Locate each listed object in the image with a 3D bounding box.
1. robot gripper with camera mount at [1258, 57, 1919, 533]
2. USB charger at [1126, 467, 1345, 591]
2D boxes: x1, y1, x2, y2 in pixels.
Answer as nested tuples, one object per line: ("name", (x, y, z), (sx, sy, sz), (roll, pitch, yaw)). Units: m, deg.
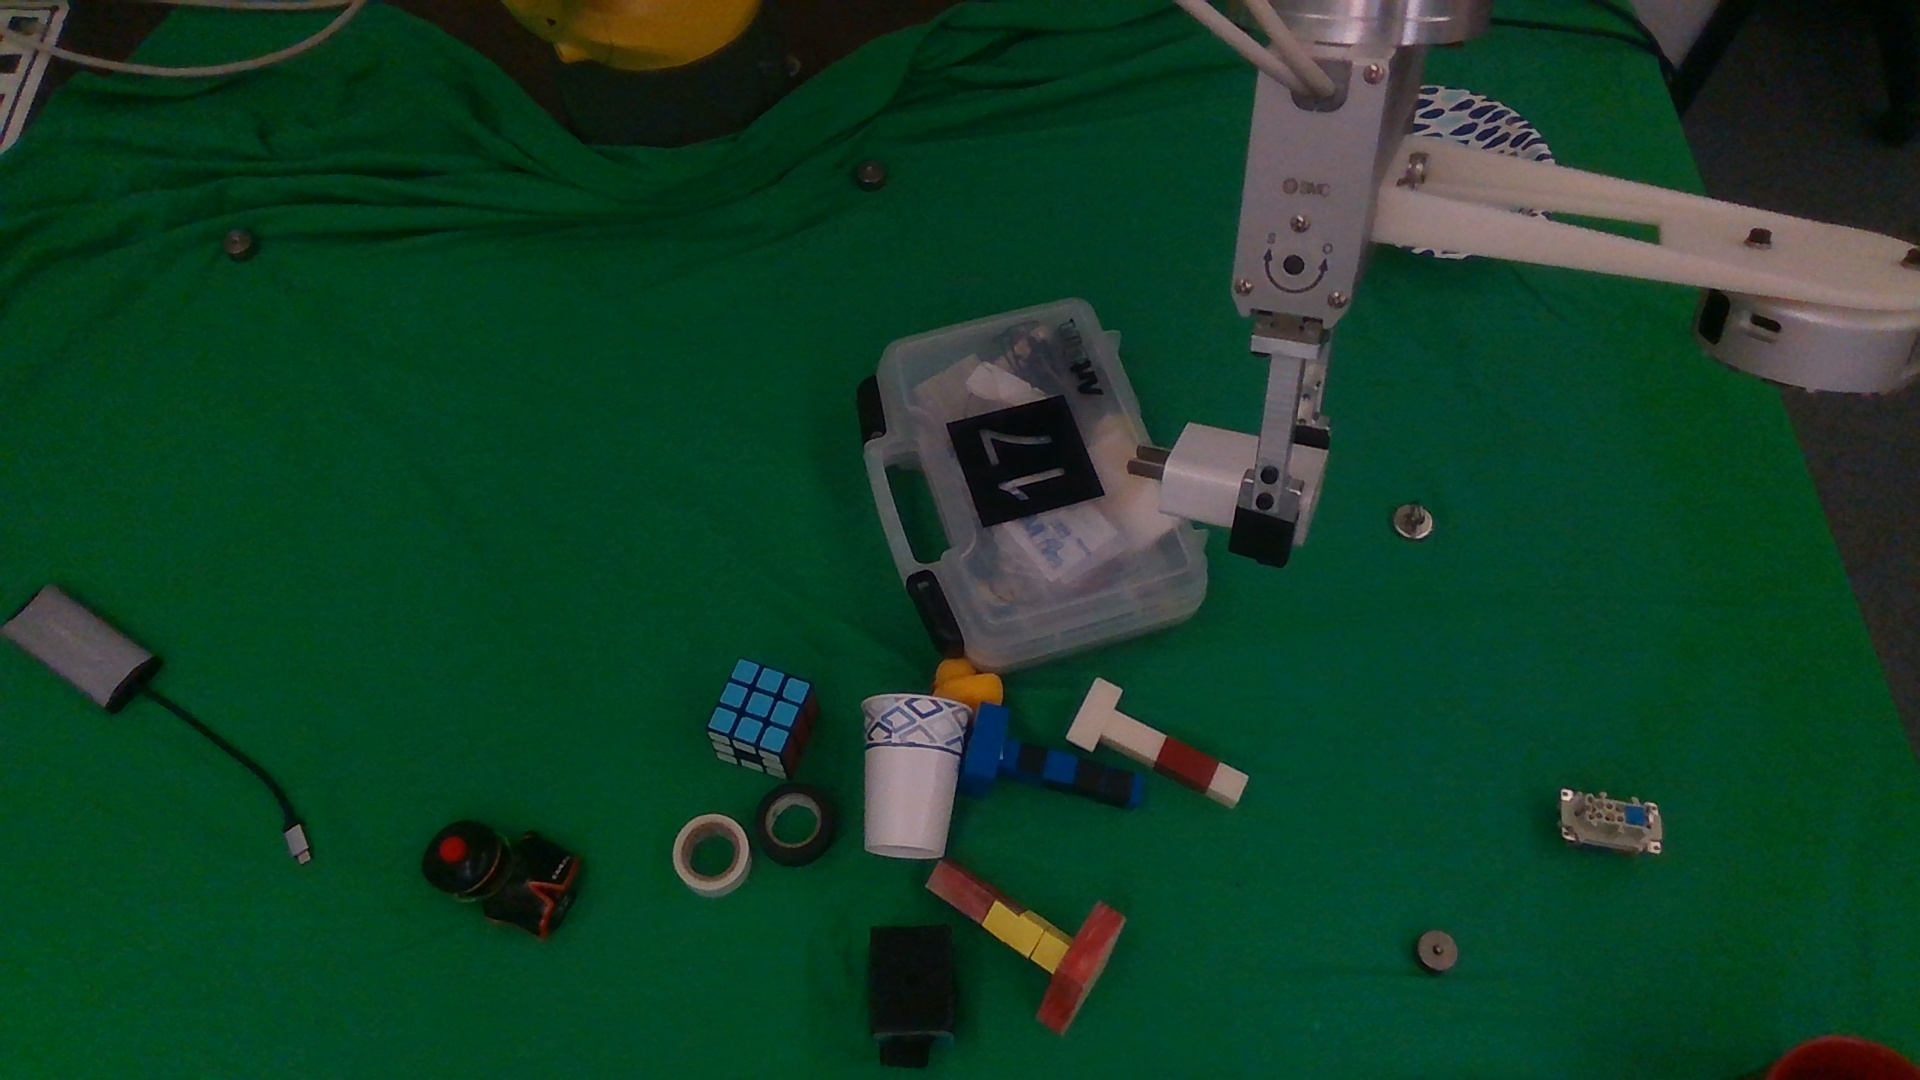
("robot gripper with camera mount", (0.198, -0.057, 0.441), (0.194, 0.158, 0.119), (9, 31, 17))
("USB charger", (0.098, -0.006, 0.496), (0.076, 0.029, 0.044), (9, 32, 16))
